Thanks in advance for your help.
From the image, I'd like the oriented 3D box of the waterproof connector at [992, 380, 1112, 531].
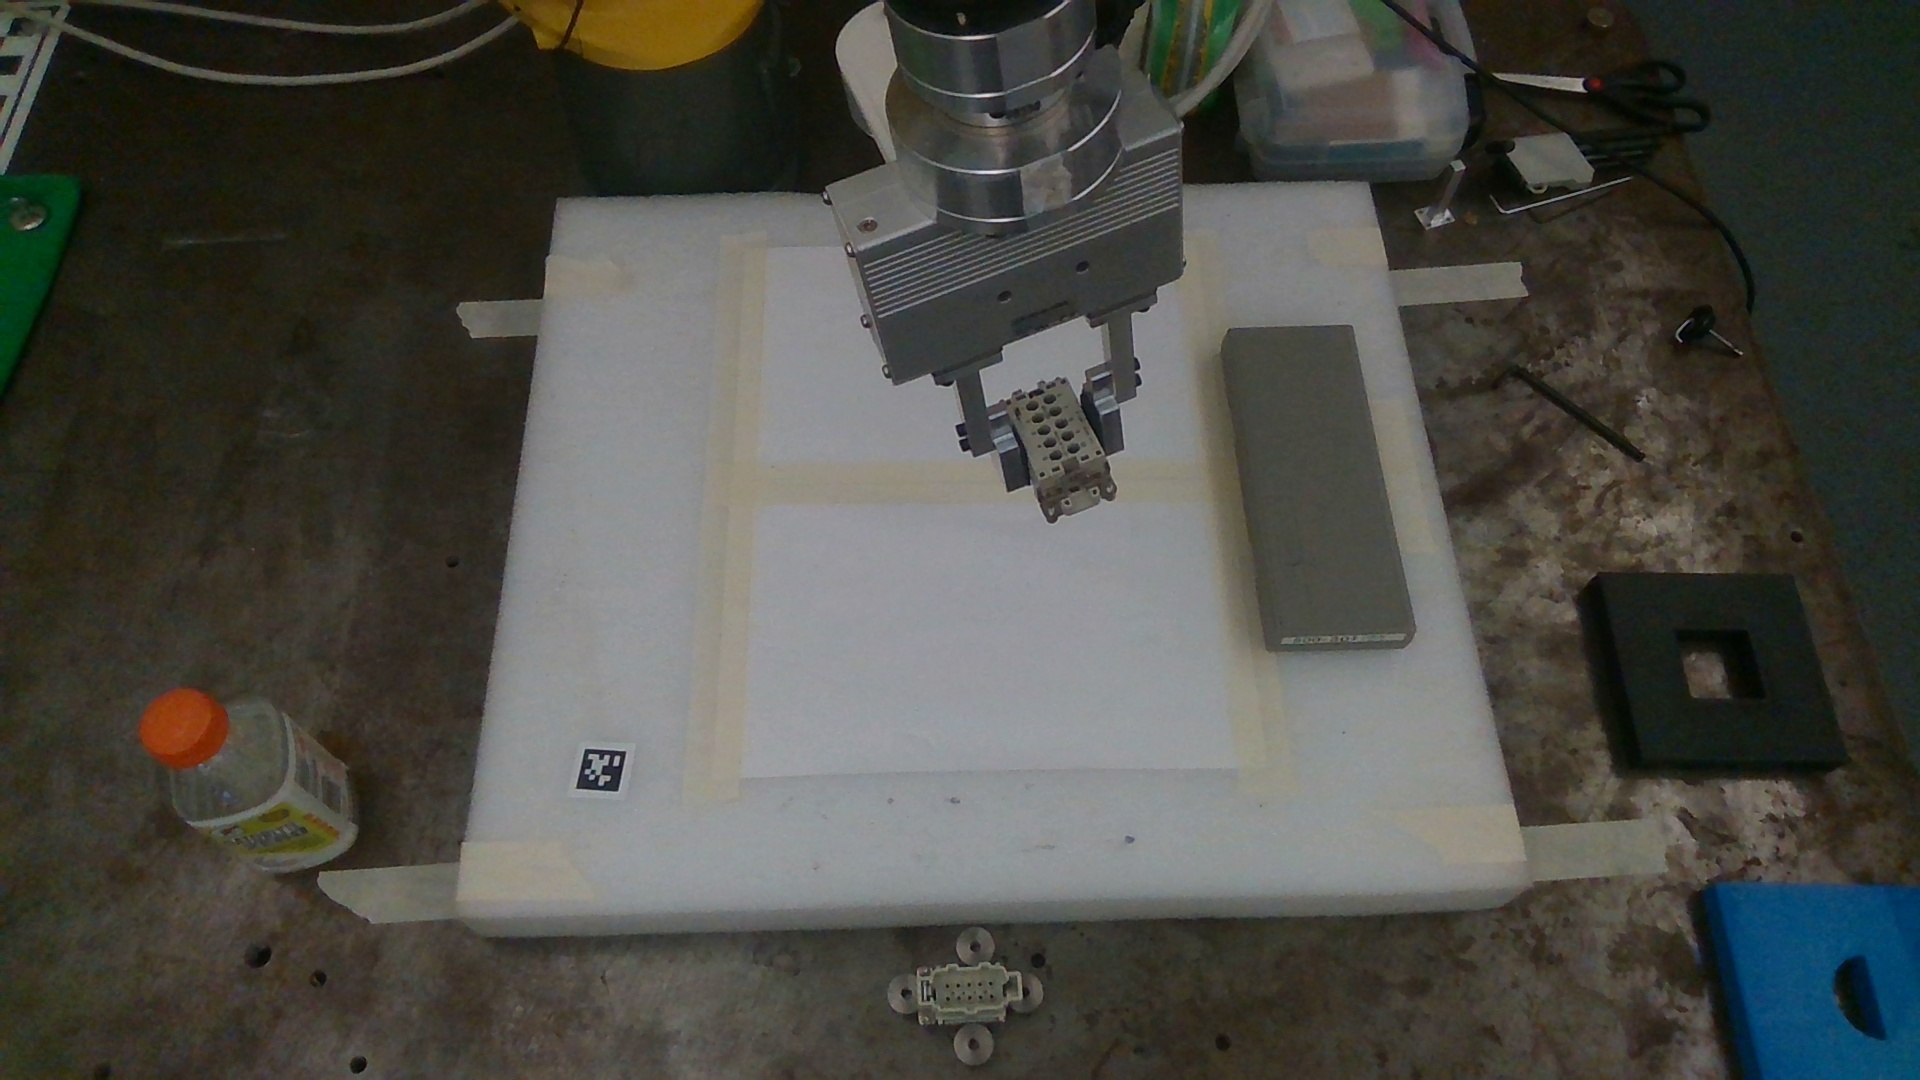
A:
[{"bbox_3d":[0.042,-0.040,0.626,0.037,0.038,0.069,-18,66,-6],"label":"waterproof connector"}]
